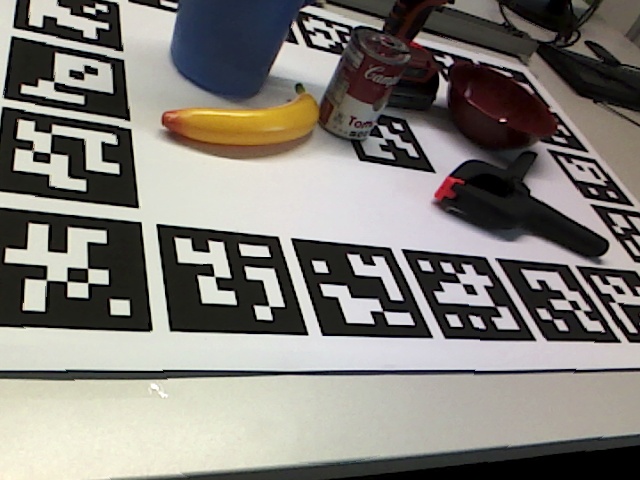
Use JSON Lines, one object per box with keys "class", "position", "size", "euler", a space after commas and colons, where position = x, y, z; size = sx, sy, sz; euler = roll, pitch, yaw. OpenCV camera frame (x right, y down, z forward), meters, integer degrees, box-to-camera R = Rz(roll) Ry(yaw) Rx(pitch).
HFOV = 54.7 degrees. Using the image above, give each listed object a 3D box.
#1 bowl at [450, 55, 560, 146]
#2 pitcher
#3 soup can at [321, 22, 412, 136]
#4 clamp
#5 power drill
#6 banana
{"class": "bowl", "position": [0.230, -0.174, 0.812], "size": [0.161, 0.055, 0.162], "euler": [16, 43, -16]}
{"class": "pitcher", "position": [-0.048, -0.275, 0.610], "size": [0.188, 0.242, 0.134], "euler": [-19, 56, -42]}
{"class": "soup can", "position": [0.048, -0.174, 0.671], "size": [0.068, 0.102, 0.068], "euler": [16, 34, -11]}
{"class": "clamp", "position": [0.218, -0.059, 0.688], "size": [0.201, 0.037, 0.166], "euler": [2, 51, -29]}
{"class": "power drill", "position": [0.150, -0.280, 0.746], "size": [0.183, 0.187, 0.057], "euler": [0, 48, -31]}
{"class": "banana", "position": [-0.061, -0.123, 0.605], "size": [0.074, 0.039, 0.196], "euler": [41, 39, 27]}
